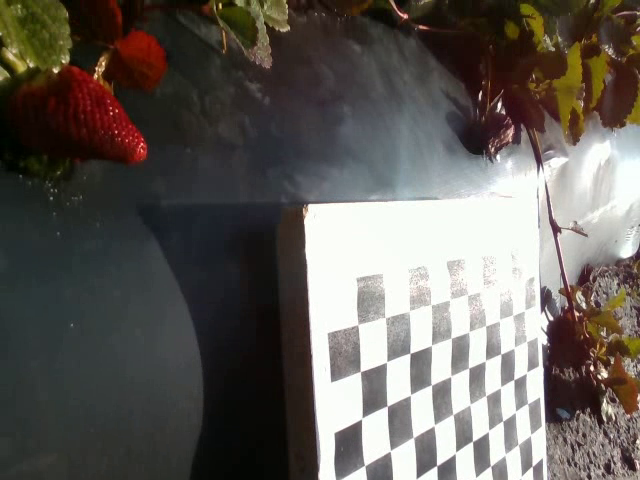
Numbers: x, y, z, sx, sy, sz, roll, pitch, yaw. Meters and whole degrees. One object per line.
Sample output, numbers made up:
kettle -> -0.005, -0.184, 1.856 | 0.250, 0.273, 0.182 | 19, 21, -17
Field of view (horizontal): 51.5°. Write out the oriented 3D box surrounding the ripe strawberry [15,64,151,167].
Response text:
ripe strawberry -> -0.086, -0.041, 0.237 | 0.056, 0.041, 0.041 | 27, -25, 0
